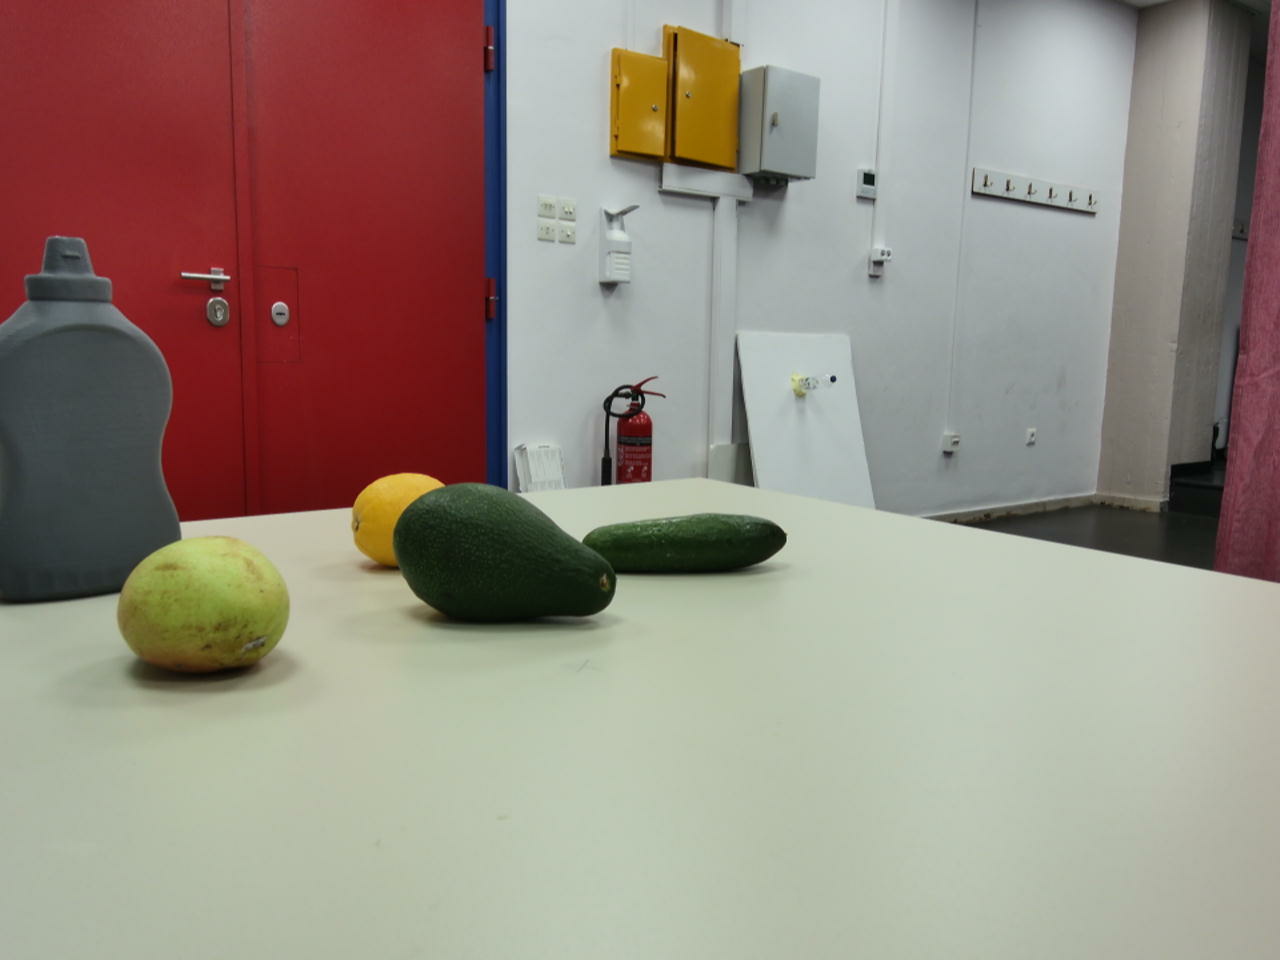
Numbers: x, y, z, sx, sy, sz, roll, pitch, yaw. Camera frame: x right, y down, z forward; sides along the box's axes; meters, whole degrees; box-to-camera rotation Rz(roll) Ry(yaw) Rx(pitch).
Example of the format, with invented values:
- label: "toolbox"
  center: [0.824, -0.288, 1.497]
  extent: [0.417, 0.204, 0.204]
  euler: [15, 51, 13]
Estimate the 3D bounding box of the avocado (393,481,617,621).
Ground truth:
- label: "avocado"
  center: [-0.073, 0.037, 0.514]
  extent: [0.110, 0.071, 0.072]
  euler: [4, 7, 30]
